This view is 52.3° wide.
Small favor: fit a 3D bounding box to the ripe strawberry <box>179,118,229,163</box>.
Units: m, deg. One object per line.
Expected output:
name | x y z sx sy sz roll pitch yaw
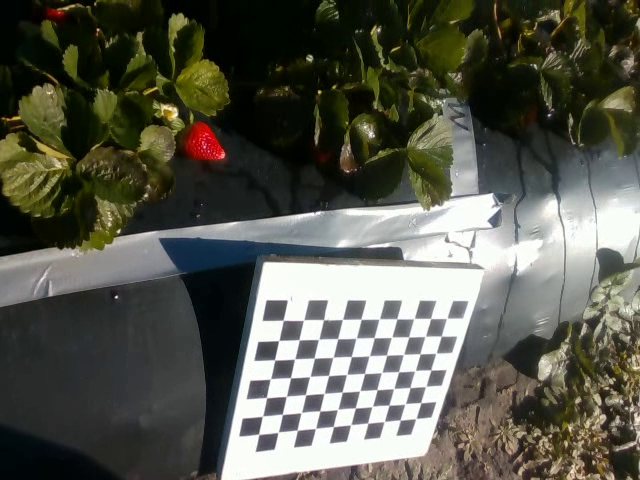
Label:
ripe strawberry | -0.122 -0.099 0.665 0.059 0.045 0.042 35 3 -15
